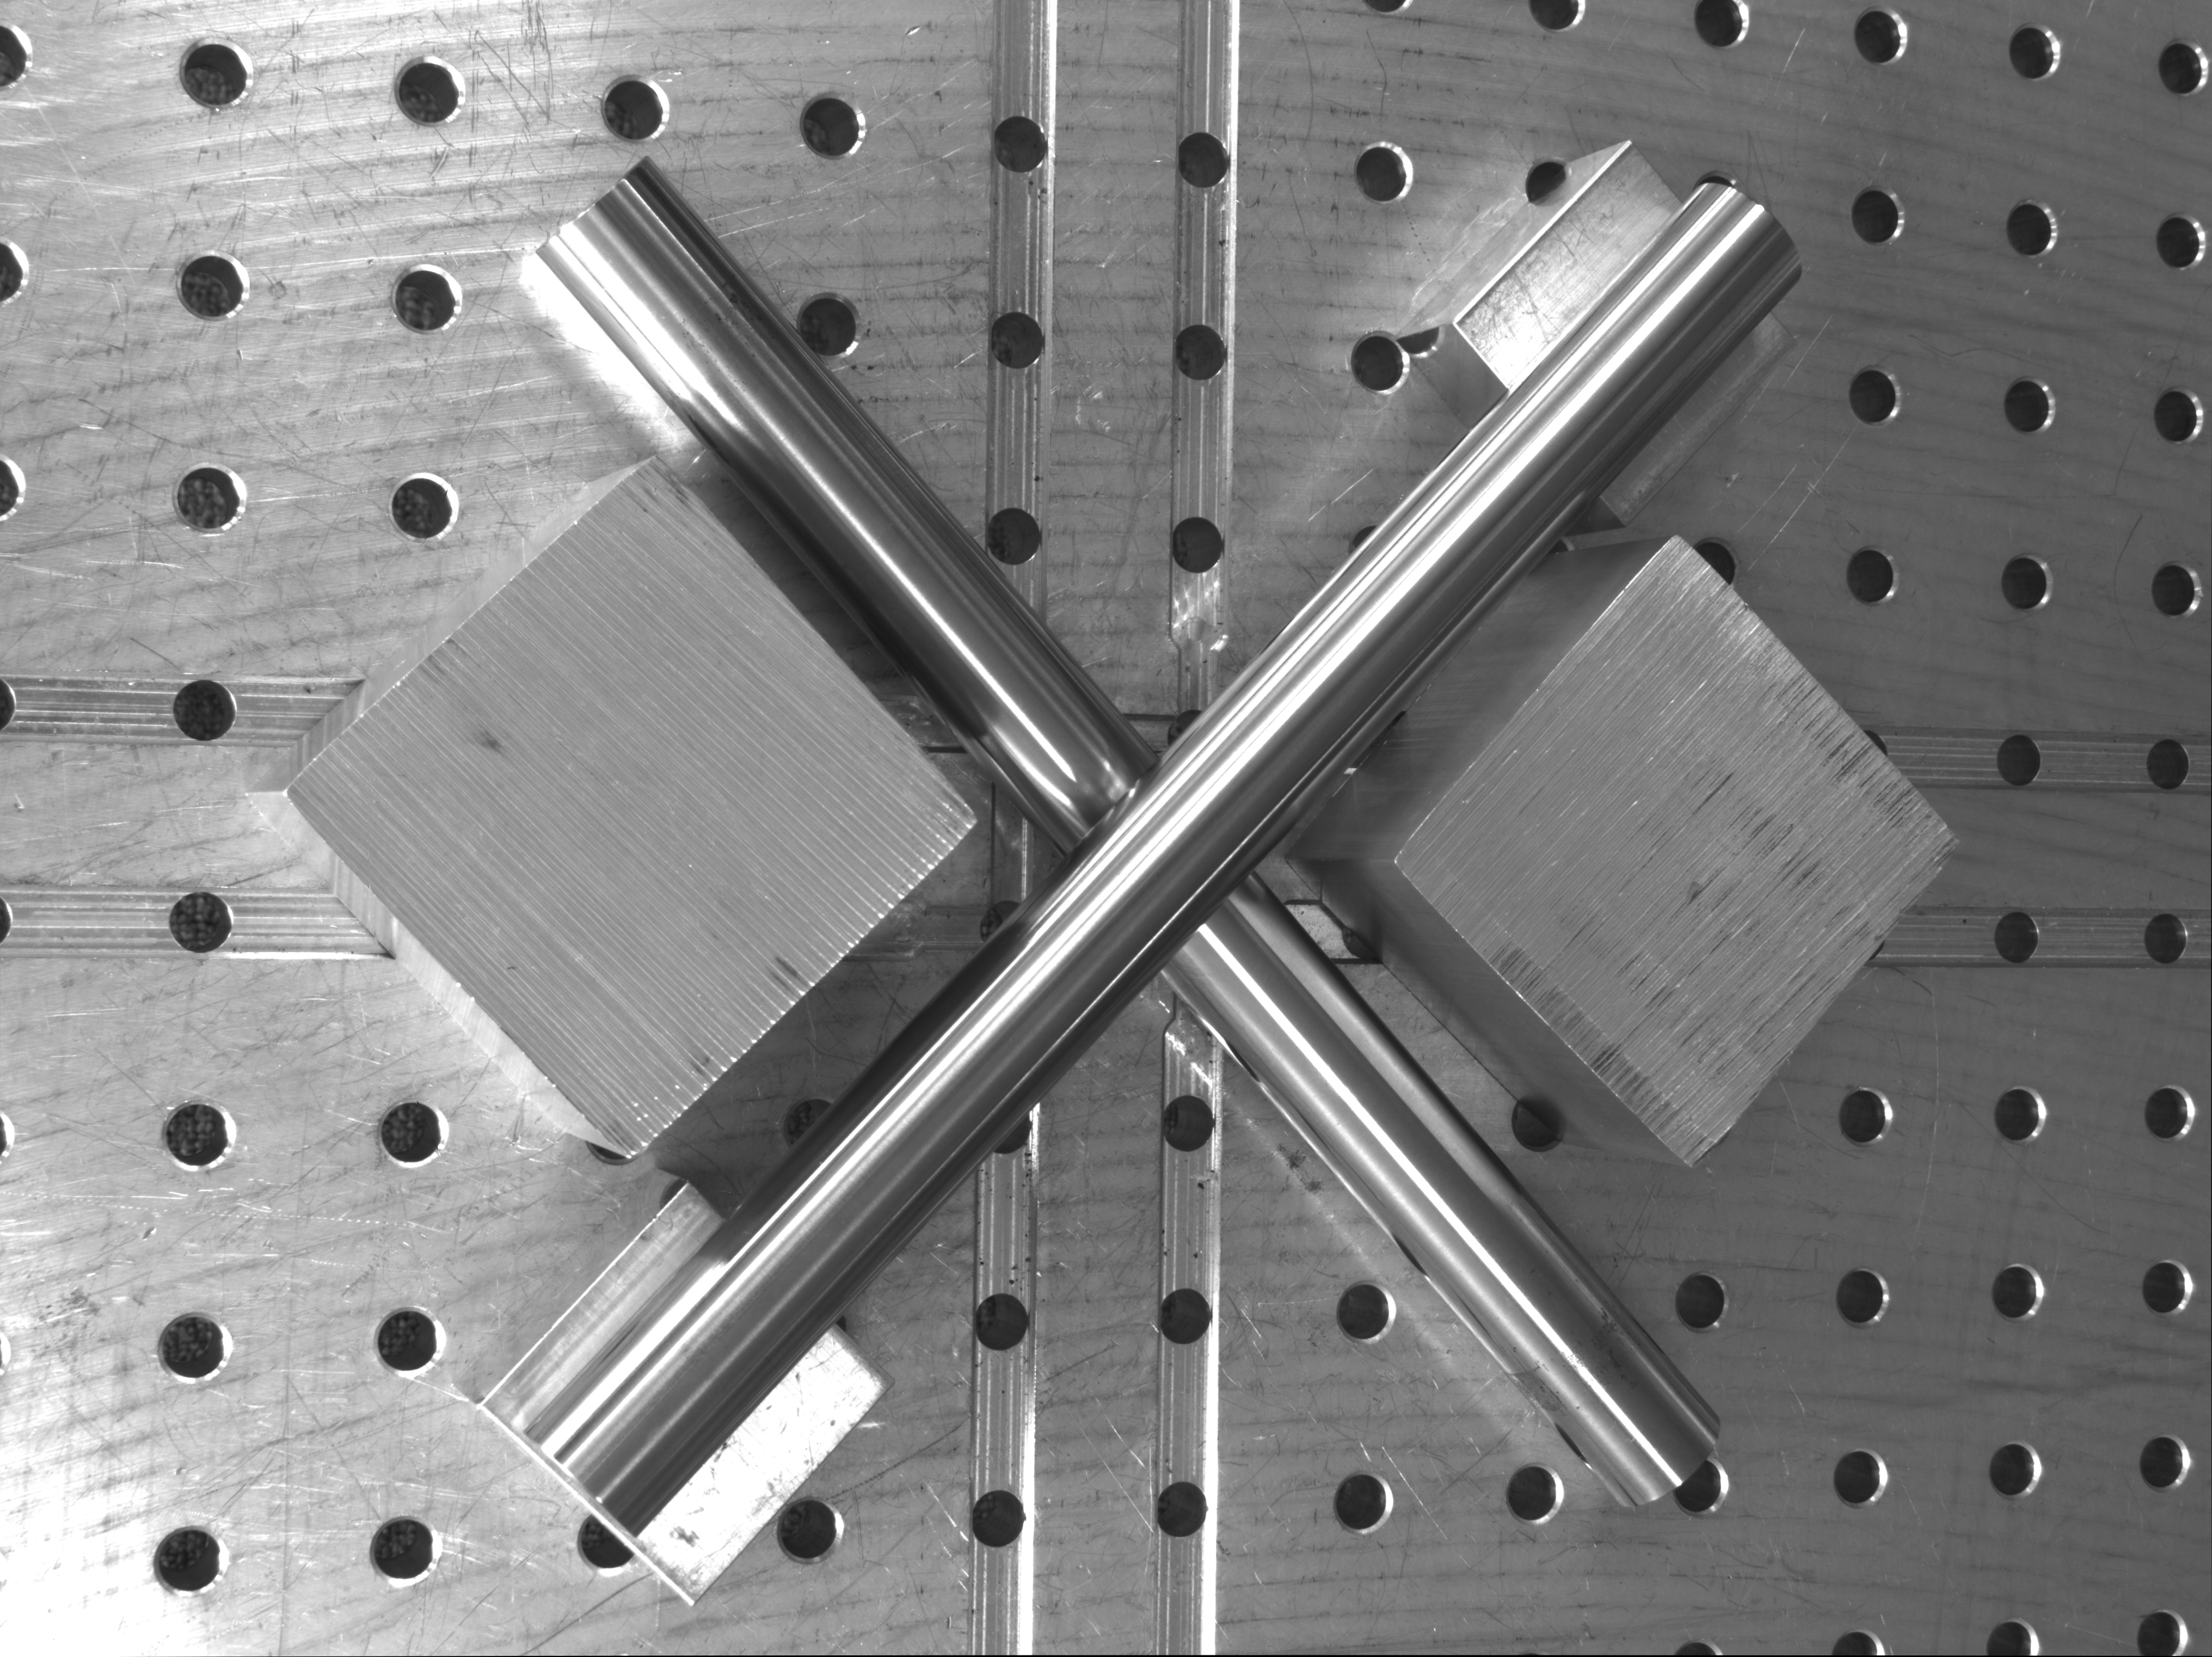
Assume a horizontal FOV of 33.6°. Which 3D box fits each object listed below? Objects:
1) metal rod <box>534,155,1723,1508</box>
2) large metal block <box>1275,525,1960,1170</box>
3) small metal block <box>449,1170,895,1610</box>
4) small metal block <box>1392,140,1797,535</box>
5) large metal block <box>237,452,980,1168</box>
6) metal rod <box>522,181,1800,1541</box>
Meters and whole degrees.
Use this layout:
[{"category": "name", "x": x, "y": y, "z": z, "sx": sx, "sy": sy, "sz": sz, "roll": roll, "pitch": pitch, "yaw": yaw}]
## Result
[{"category": "metal rod", "x": 0.009, "y": 0.006, "z": 0.648, "sx": 0.025, "sy": 0.025, "sz": 0.300, "roll": -44, "pitch": 104, "yaw": -14}, {"category": "large metal block", "x": 0.093, "y": 0.003, "z": 0.666, "sx": 0.080, "sy": 0.050, "sz": 0.080, "roll": 45, "pitch": 76, "yaw": -14}, {"category": "small metal block", "x": -0.073, "y": 0.094, "z": 0.619, "sx": 0.050, "sy": 0.025, "sz": 0.050, "roll": 46, "pitch": 76, "yaw": -14}, {"category": "small metal block", "x": 0.090, "y": -0.090, "z": 0.679, "sx": 0.050, "sy": 0.025, "sz": 0.050, "roll": -46, "pitch": 104, "yaw": -14}, {"category": "large metal block", "x": -0.082, "y": -0.003, "z": 0.602, "sx": 0.080, "sy": 0.050, "sz": 0.080, "roll": -45, "pitch": 104, "yaw": -14}, {"category": "metal rod", "x": 0.015, "y": -0.001, "z": 0.624, "sx": 0.025, "sy": 0.025, "sz": 0.300, "roll": 47, "pitch": 76, "yaw": -14}]
